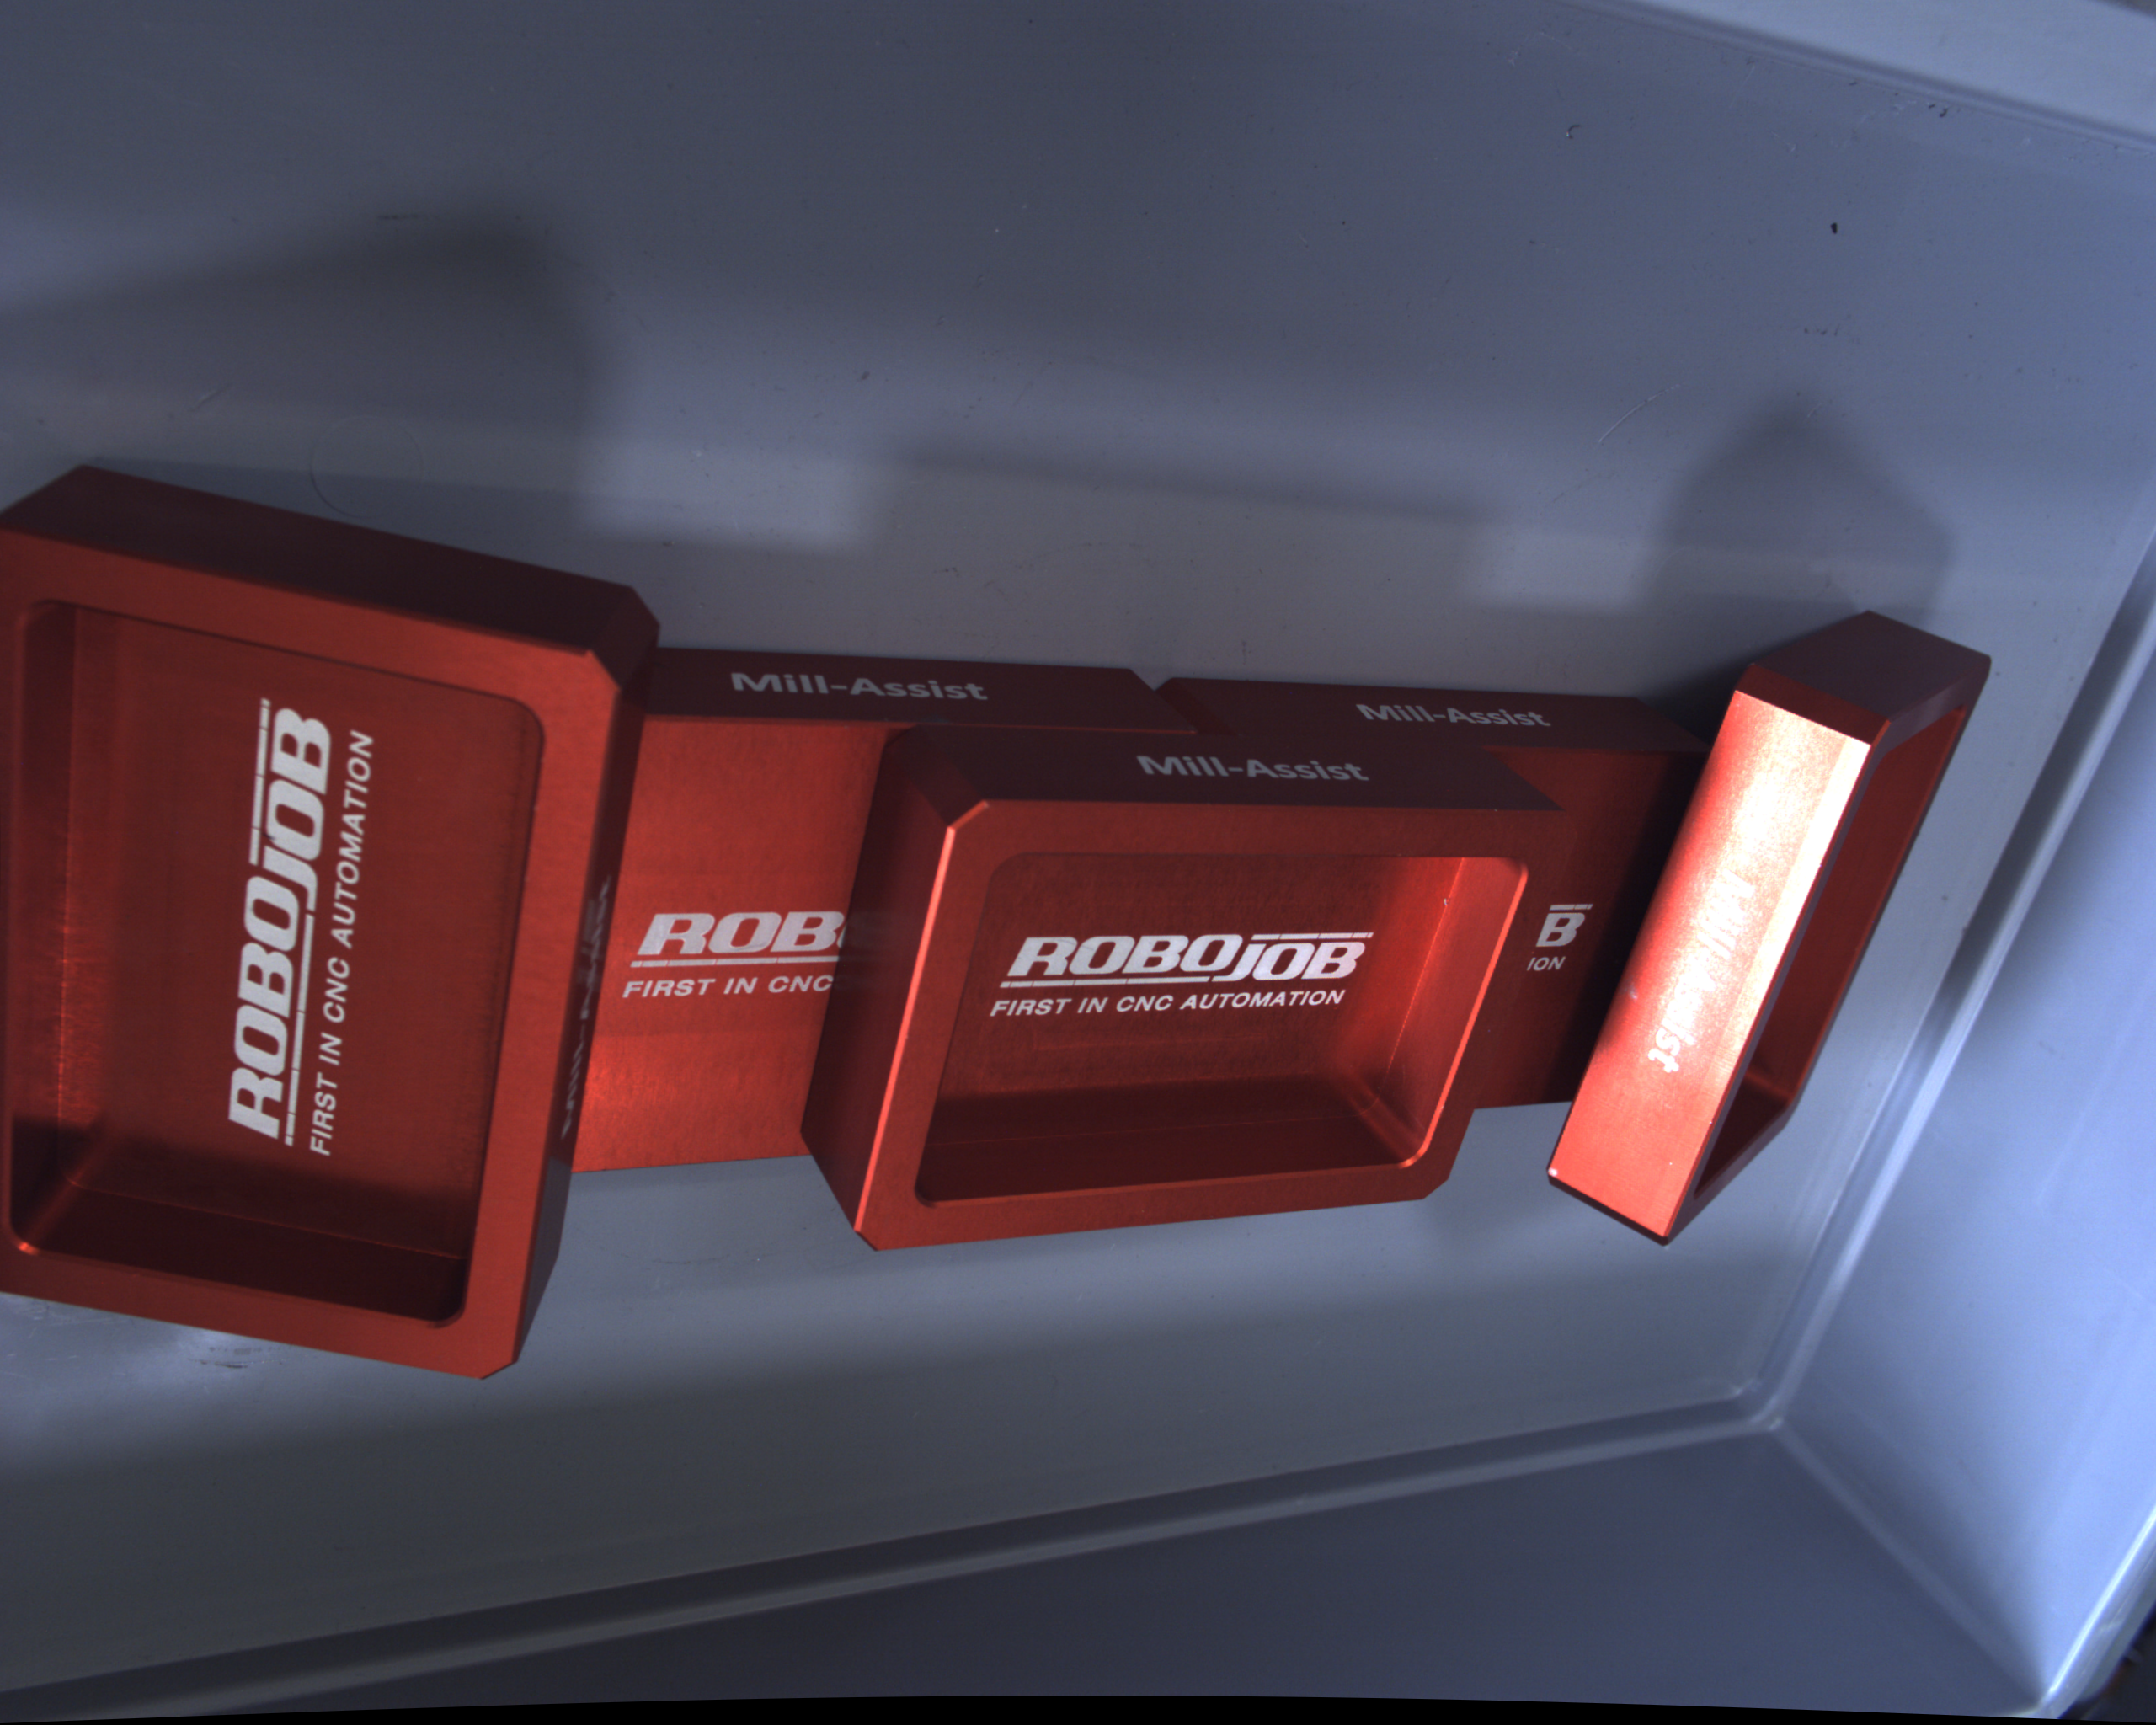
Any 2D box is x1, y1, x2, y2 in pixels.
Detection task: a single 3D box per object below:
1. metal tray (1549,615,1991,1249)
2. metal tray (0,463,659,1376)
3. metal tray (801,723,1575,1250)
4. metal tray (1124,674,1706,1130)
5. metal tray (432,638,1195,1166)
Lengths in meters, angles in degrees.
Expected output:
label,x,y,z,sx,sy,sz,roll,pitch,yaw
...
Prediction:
label,x,y,z,sx,sy,sz,roll,pitch,yaw
metal tray,0.157,0.014,0.472,0.091,0.030,0.129,-21,132,-52
metal tray,-0.121,0.013,0.322,0.091,0.030,0.129,12,115,-6
metal tray,0.021,0.023,0.390,0.131,0.030,0.089,1,118,-29
metal tray,0.067,0.009,0.446,0.131,0.030,0.089,0,118,-28
metal tray,-0.048,0.008,0.383,0.131,0.030,0.089,0,118,-28
